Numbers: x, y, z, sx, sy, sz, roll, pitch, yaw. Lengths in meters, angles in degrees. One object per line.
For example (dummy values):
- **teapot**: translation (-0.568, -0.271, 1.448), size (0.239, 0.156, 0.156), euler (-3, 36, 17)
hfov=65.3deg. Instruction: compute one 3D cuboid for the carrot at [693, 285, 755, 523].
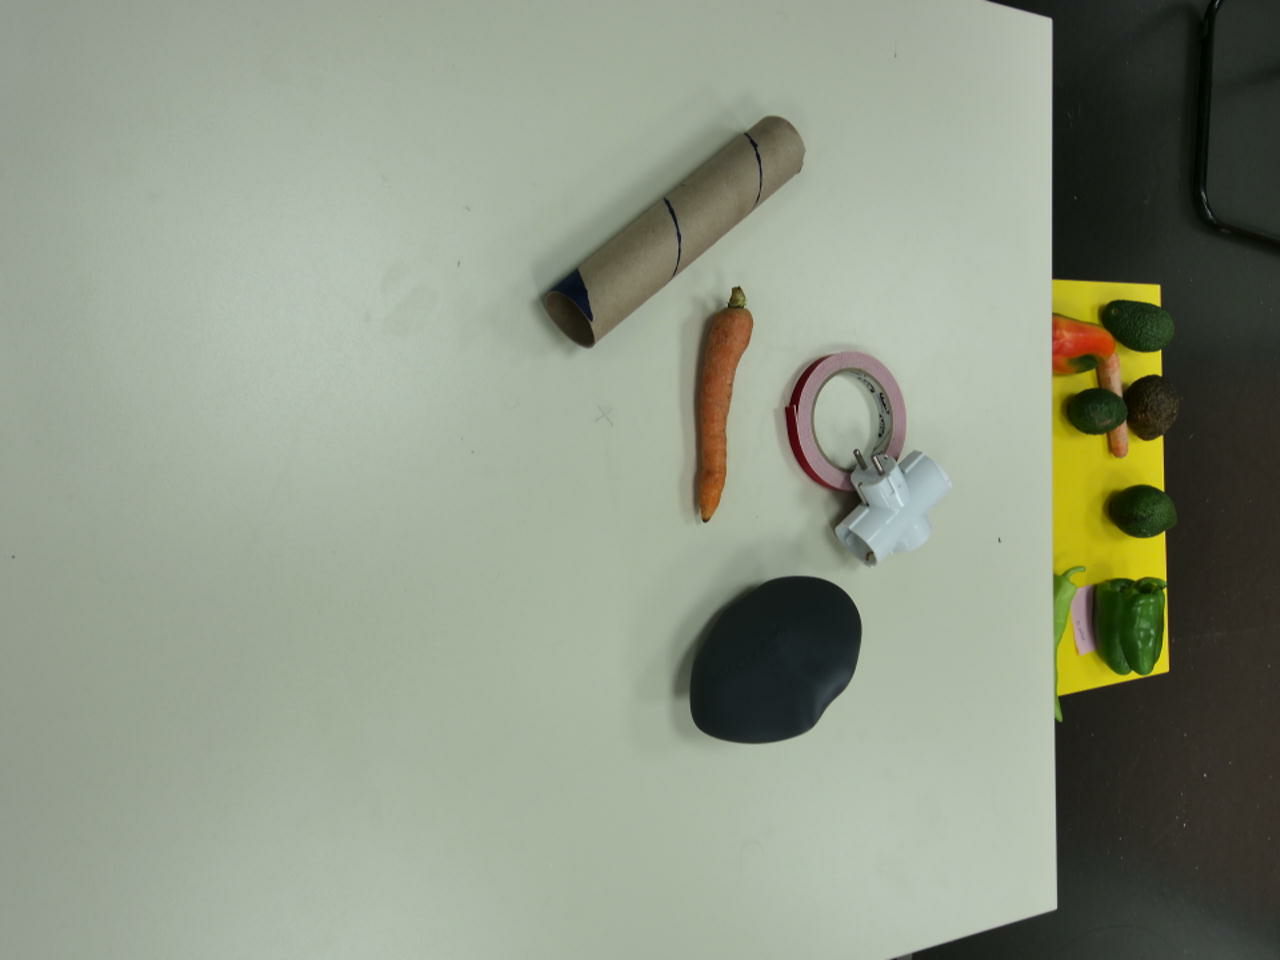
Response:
- **carrot**: translation (0.058, -0.054, 0.717), size (0.030, 0.032, 0.173), euler (10, 86, -28)
